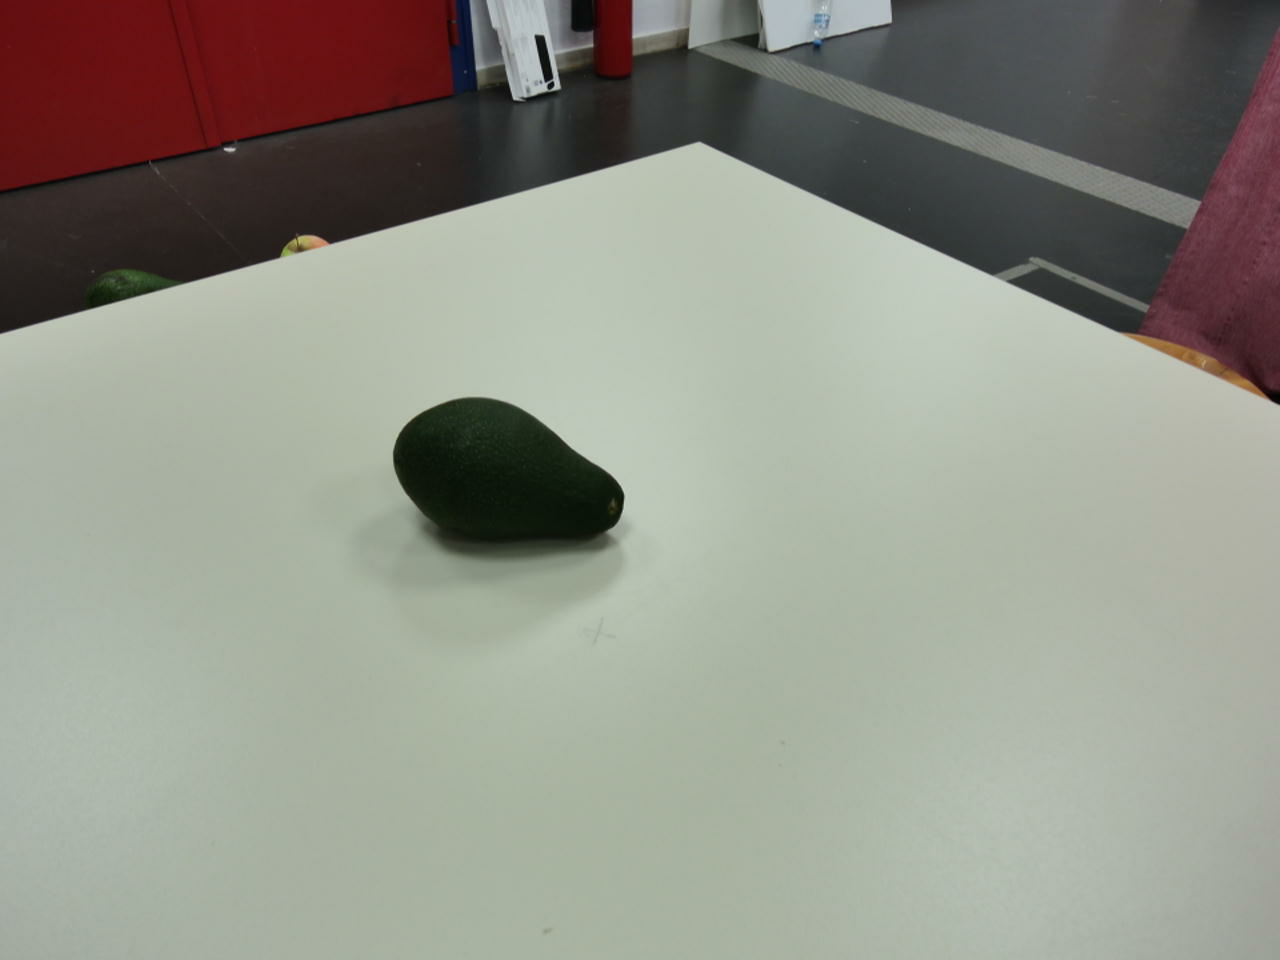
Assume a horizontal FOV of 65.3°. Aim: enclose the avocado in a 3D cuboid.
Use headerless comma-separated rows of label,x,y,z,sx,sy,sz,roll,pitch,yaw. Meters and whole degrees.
avocado,-0.068,-0.003,0.499,0.110,0.071,0.072,19,41,22
